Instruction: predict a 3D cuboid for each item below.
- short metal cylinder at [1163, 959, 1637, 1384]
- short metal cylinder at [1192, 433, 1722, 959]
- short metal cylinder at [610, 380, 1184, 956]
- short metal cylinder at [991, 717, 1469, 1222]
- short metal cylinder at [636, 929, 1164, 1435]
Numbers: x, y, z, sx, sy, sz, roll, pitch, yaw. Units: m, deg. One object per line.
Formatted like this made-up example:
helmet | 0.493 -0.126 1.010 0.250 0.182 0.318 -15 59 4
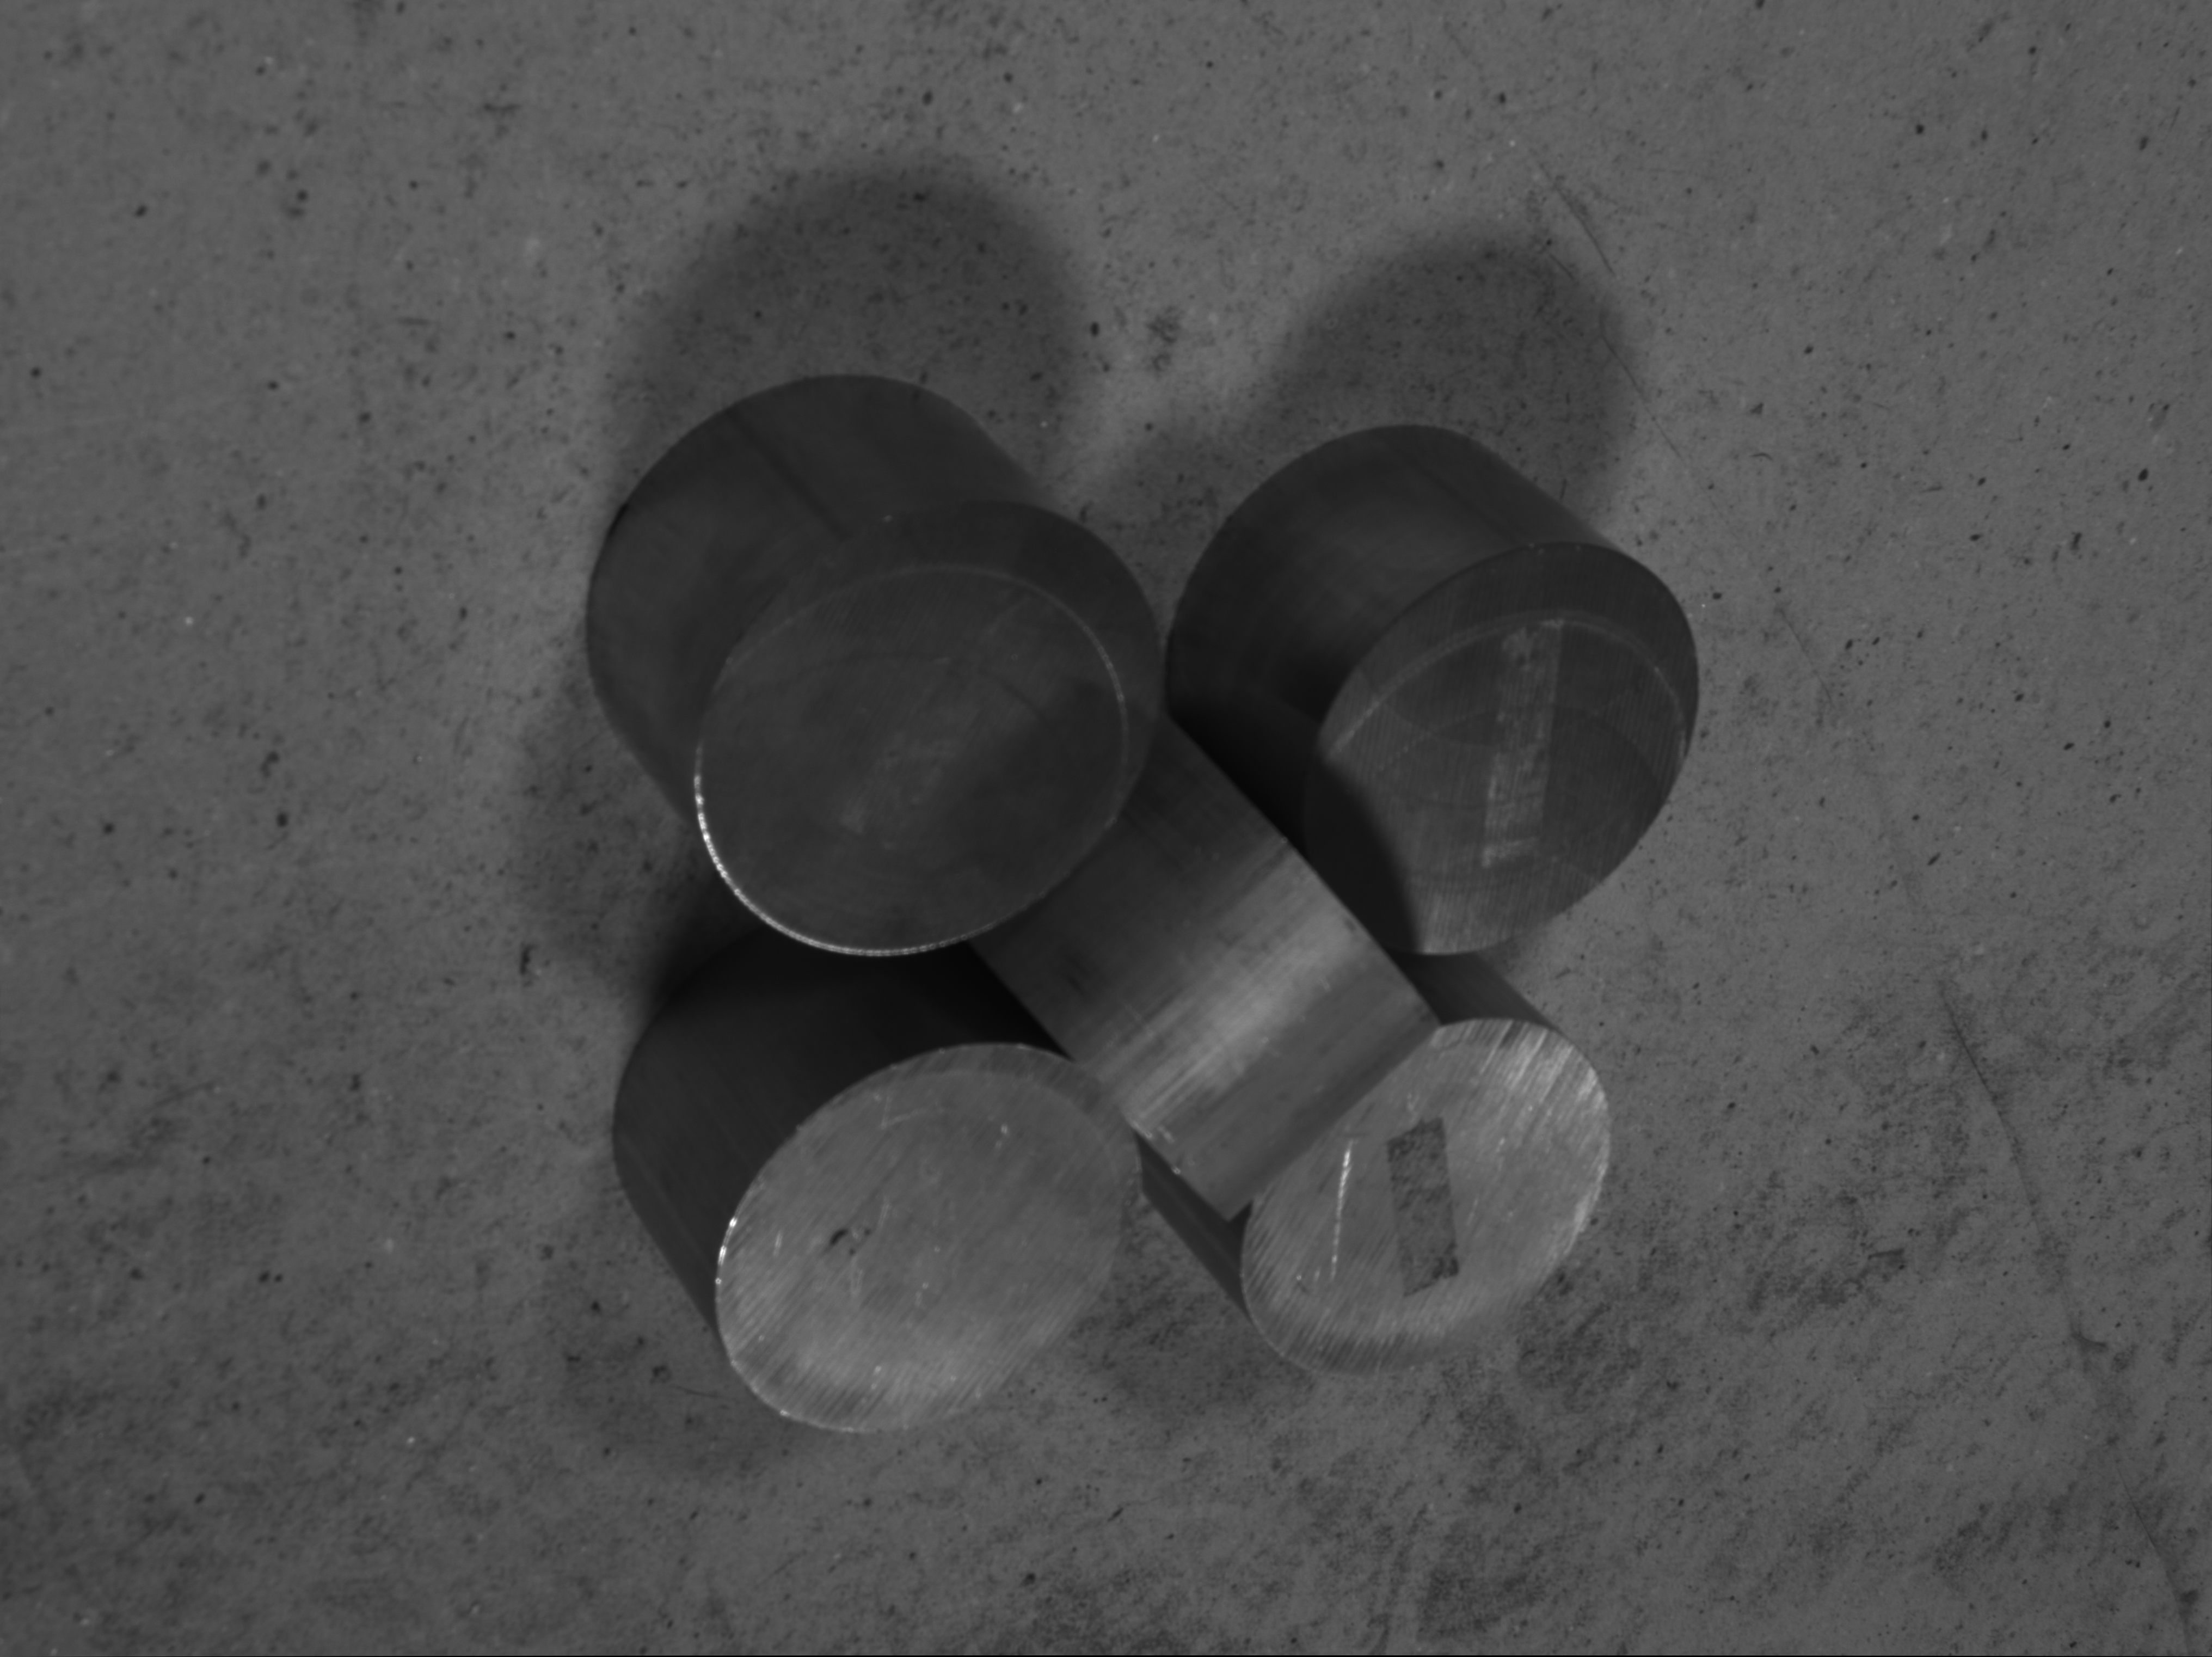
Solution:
short metal cylinder | 0.054 0.059 0.701 0.080 0.050 0.080 -15 125 -22
short metal cylinder | 0.062 -0.024 0.654 0.080 0.050 0.080 -15 125 -22
short metal cylinder | -0.034 -0.026 0.597 0.080 0.050 0.080 -15 125 -22
short metal cylinder | 0.018 0.022 0.639 0.050 0.080 0.080 -43 130 0
short metal cylinder | -0.037 0.060 0.649 0.080 0.050 0.080 -15 125 -22
